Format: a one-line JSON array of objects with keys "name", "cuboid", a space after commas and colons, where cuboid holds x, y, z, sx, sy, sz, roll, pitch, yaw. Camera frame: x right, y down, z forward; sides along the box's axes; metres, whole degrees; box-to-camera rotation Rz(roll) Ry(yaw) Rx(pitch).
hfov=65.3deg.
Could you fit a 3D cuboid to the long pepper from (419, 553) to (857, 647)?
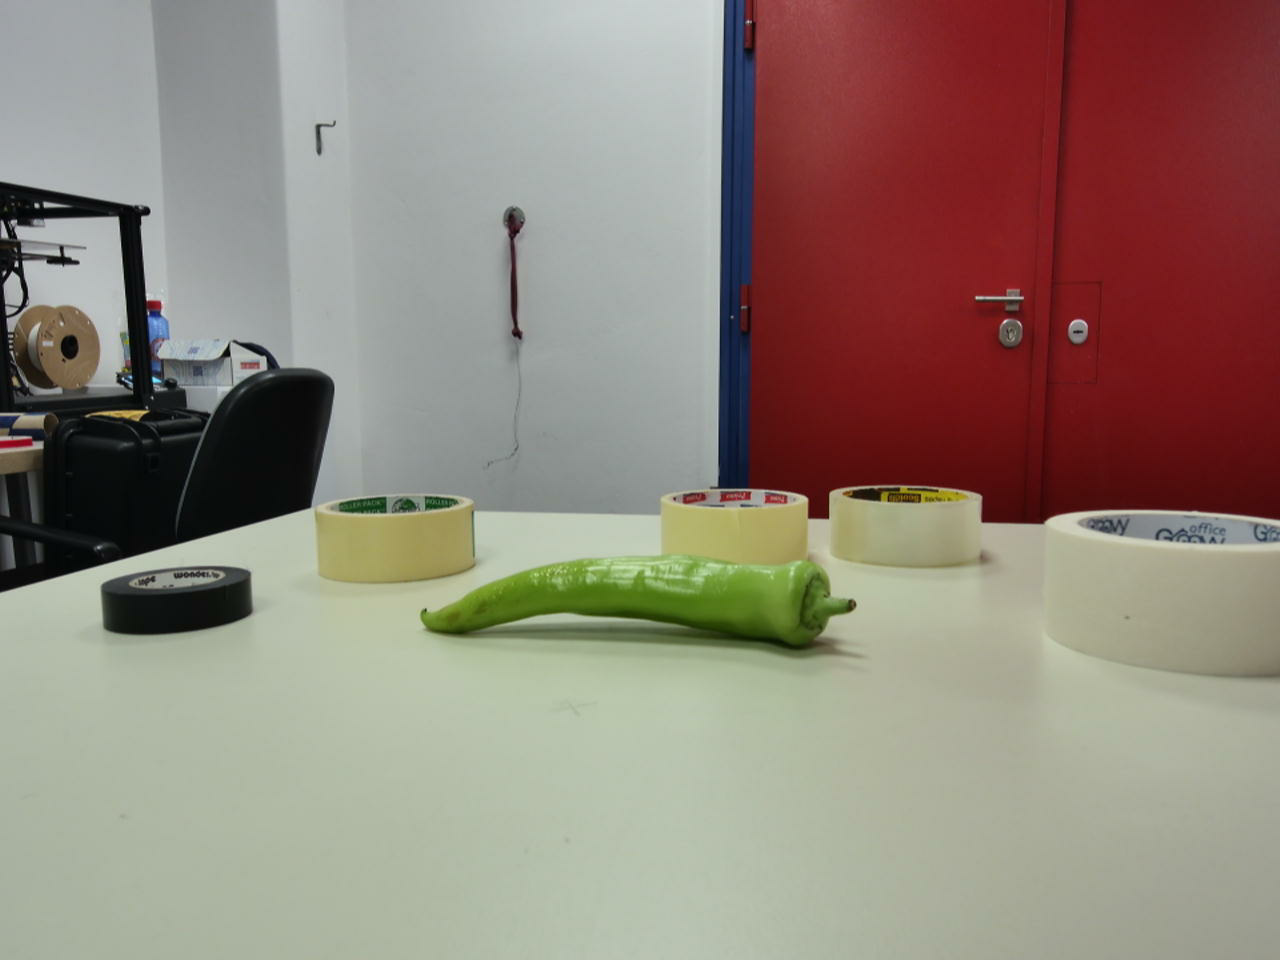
[{"name": "long pepper", "cuboid": [-0.003, 0.051, 0.446, 0.197, 0.038, 0.046, 1, 4, 15]}]
